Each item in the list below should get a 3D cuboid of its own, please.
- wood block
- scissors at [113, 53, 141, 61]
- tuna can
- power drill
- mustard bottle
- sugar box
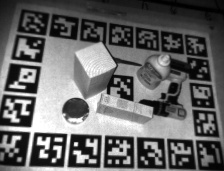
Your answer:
[{"bbox_3d":[-0.058,-0.048,0.684,0.091,0.206,0.089,-24,78,-17],"label":"wood block"},{"bbox_3d":[0.010,-0.108,0.810,0.204,0.016,0.087,7,66,-10],"label":"scissors"},{"bbox_3d":[-0.115,0.074,0.709,0.086,0.033,0.085,4,72,-12],"label":"tuna can"},{"bbox_3d":[0.193,0.009,0.790,0.185,0.057,0.187,18,76,-6],"label":"power drill"},{"bbox_3d":[0.158,-0.063,0.743,0.059,0.191,0.096,-36,82,-19],"label":"mustard bottle"},{"bbox_3d":[0.053,0.073,0.720,0.177,0.092,0.045,17,66,-8],"label":"sugar box"}]
